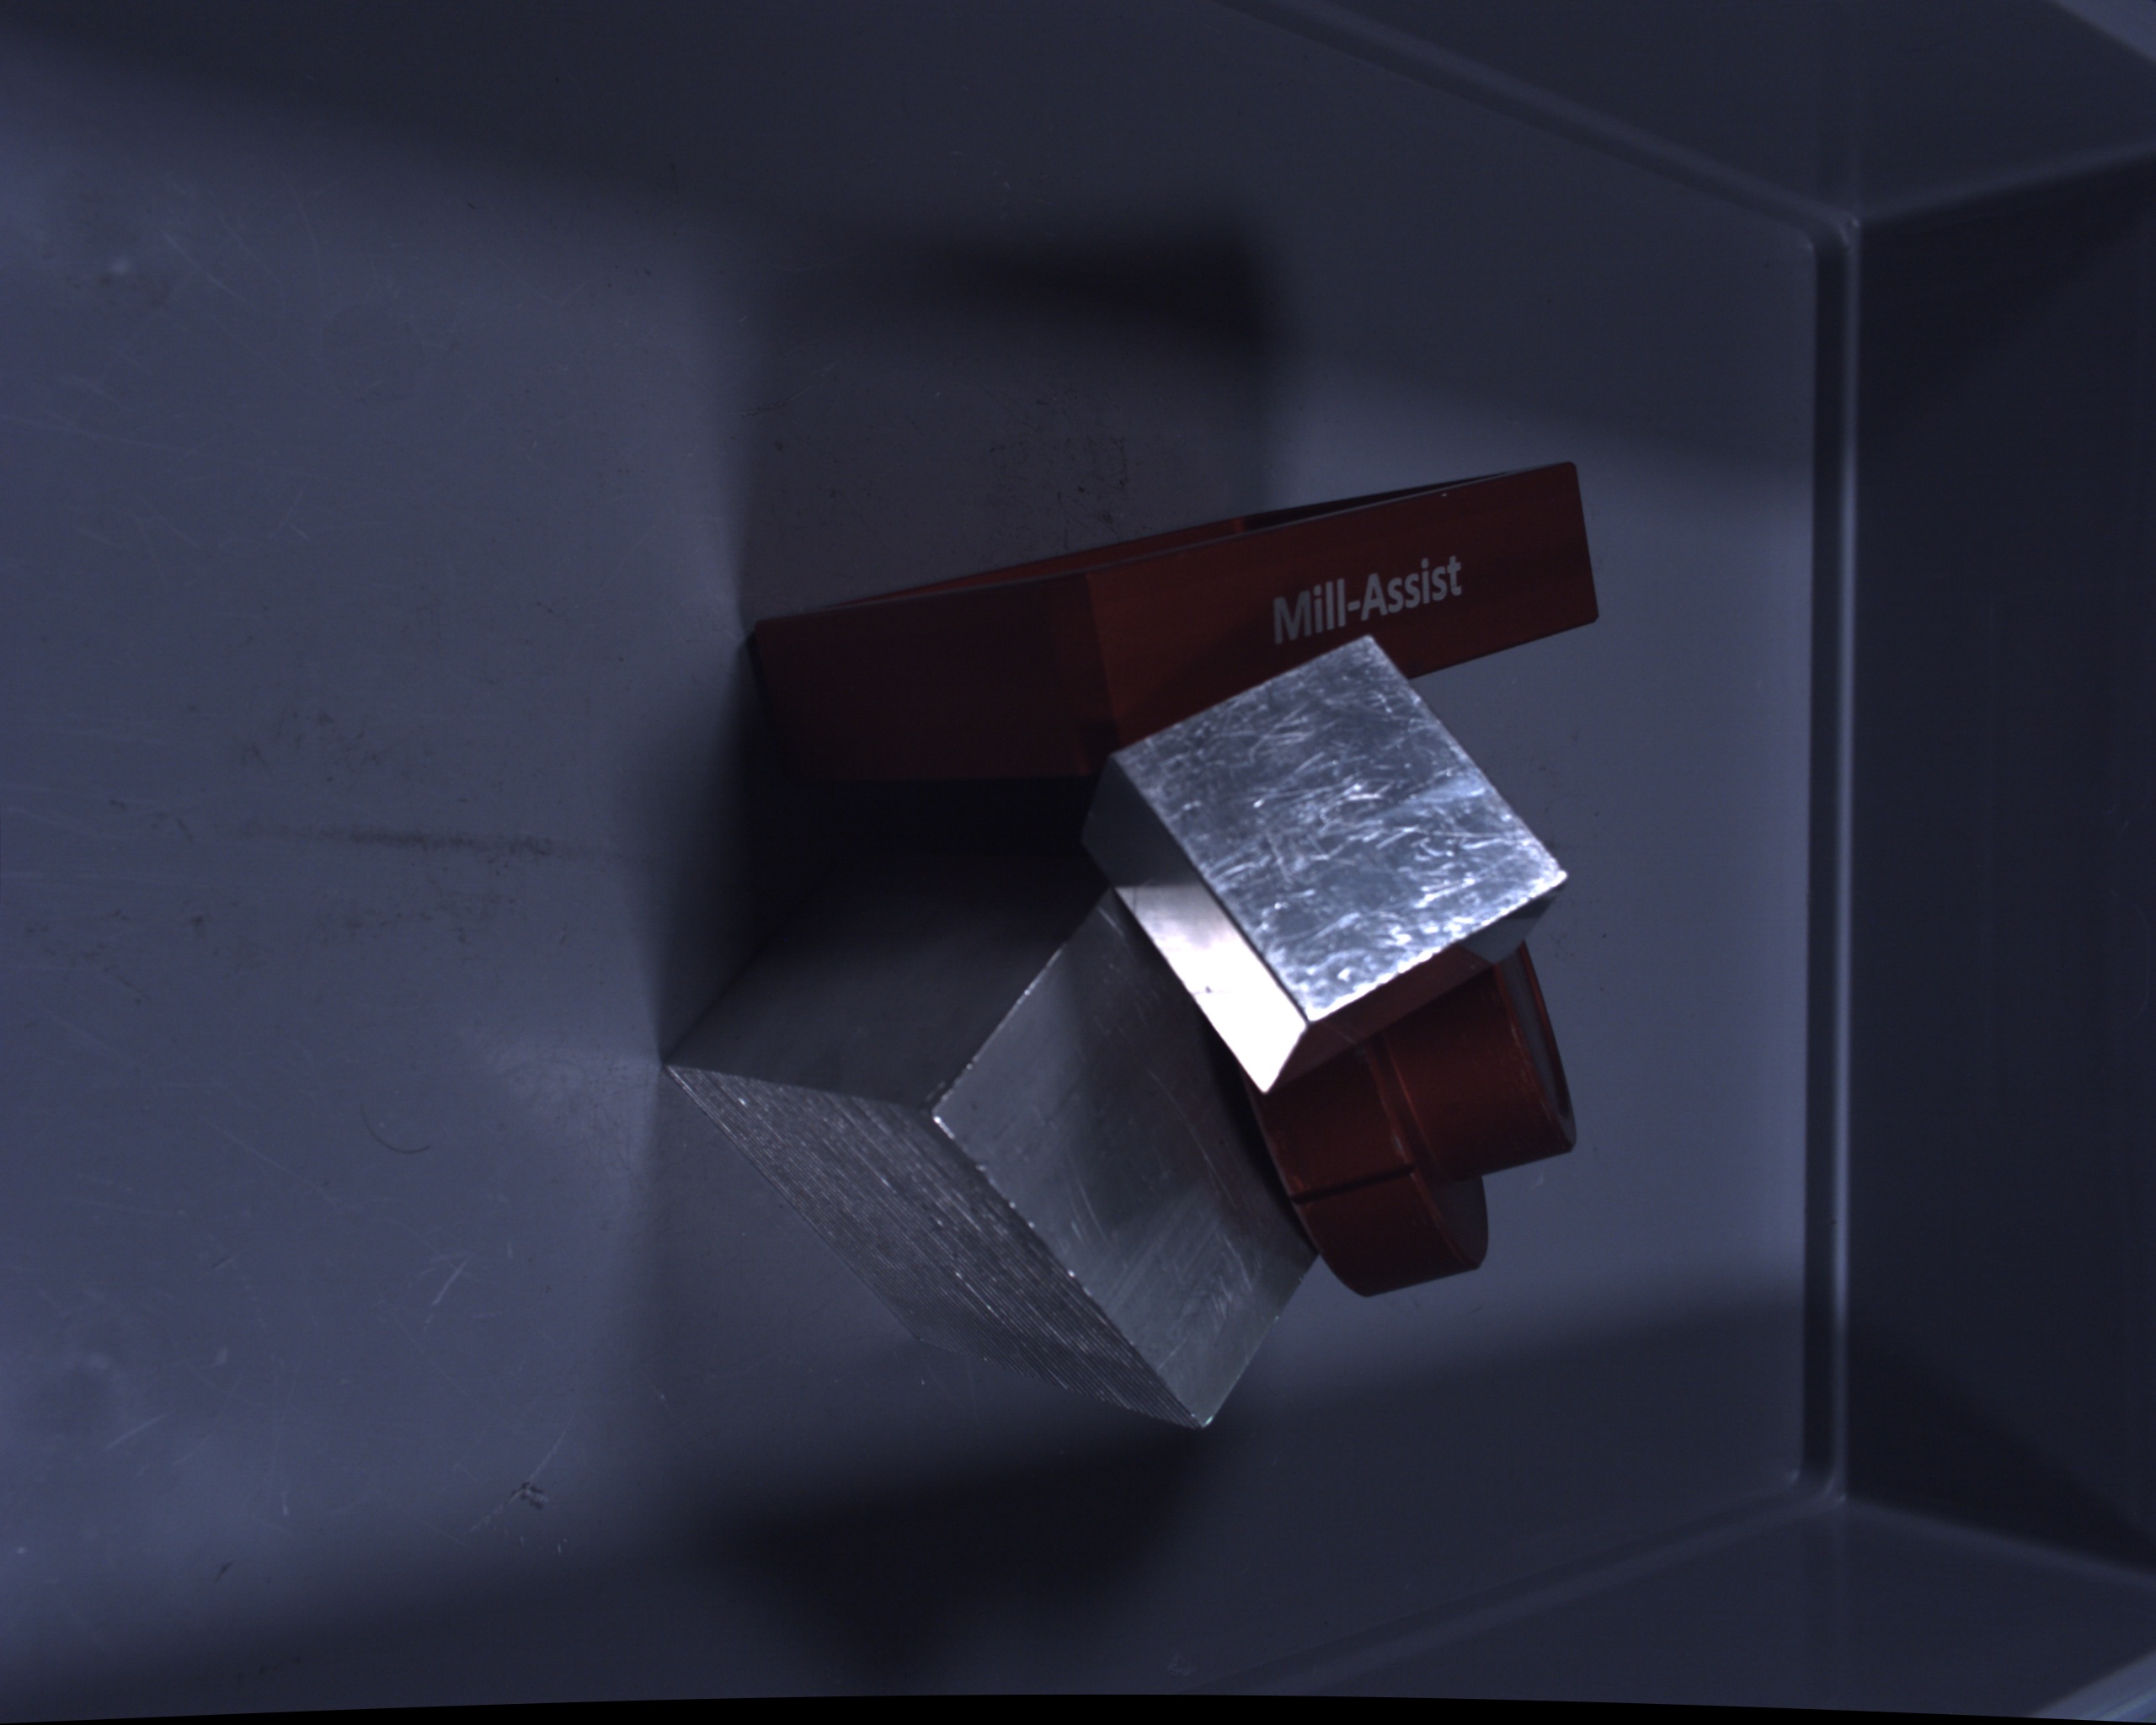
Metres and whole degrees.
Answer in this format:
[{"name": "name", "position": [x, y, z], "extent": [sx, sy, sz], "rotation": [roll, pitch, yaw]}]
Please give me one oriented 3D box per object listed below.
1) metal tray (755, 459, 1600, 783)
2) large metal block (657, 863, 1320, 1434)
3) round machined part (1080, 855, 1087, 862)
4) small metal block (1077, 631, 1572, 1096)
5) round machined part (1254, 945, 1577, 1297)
[{"name": "metal tray", "position": [0.020, -0.045, 0.380], "extent": [0.131, 0.090, 0.030], "rotation": [-19, 103, -39]}, {"name": "large metal block", "position": [-0.012, 0.046, 0.361], "extent": [0.050, 0.080, 0.080], "rotation": [-52, 121, -28]}, {"name": "round machined part", "position": [0.038, 0.009, 0.430], "extent": [0.099, 0.042, 0.097], "rotation": [0, 90, -40]}, {"name": "small metal block", "position": [0.036, -0.001, 0.317], "extent": [0.050, 0.025, 0.050], "rotation": [-27, 69, -24]}, {"name": "round machined part", "position": [0.058, 0.024, 0.369], "extent": [0.098, 0.042, 0.097], "rotation": [-19, 90, -76]}]
